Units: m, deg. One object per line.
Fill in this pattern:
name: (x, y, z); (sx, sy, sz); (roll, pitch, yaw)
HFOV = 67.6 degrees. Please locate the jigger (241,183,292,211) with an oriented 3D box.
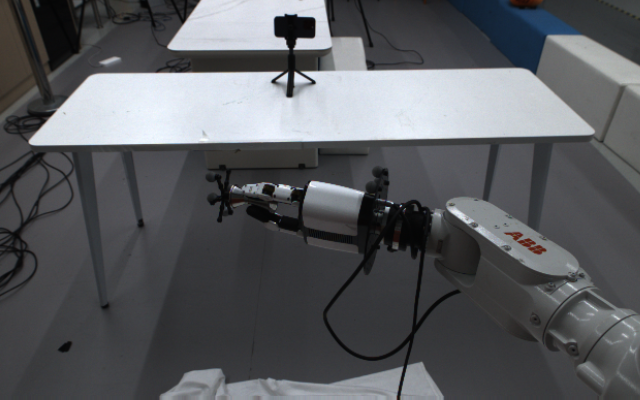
jigger: (-0.097, -0.007, 0.766); (0.071, 0.043, 0.043); (4, 34, 14)
